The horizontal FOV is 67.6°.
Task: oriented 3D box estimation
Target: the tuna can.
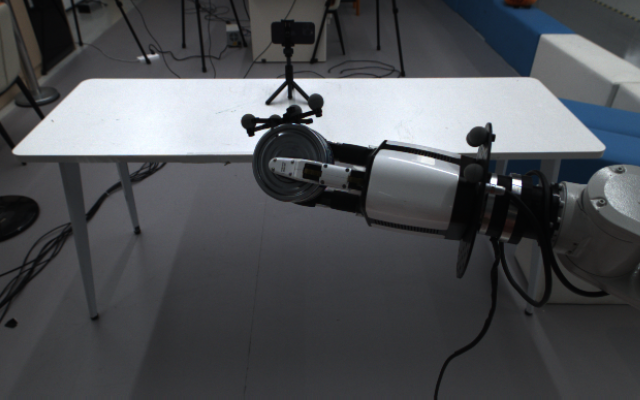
[{"bbox_3d":[-0.025,-0.035,0.526,0.085,0.085,0.034,12,3,14],"label":"tuna can"}]
